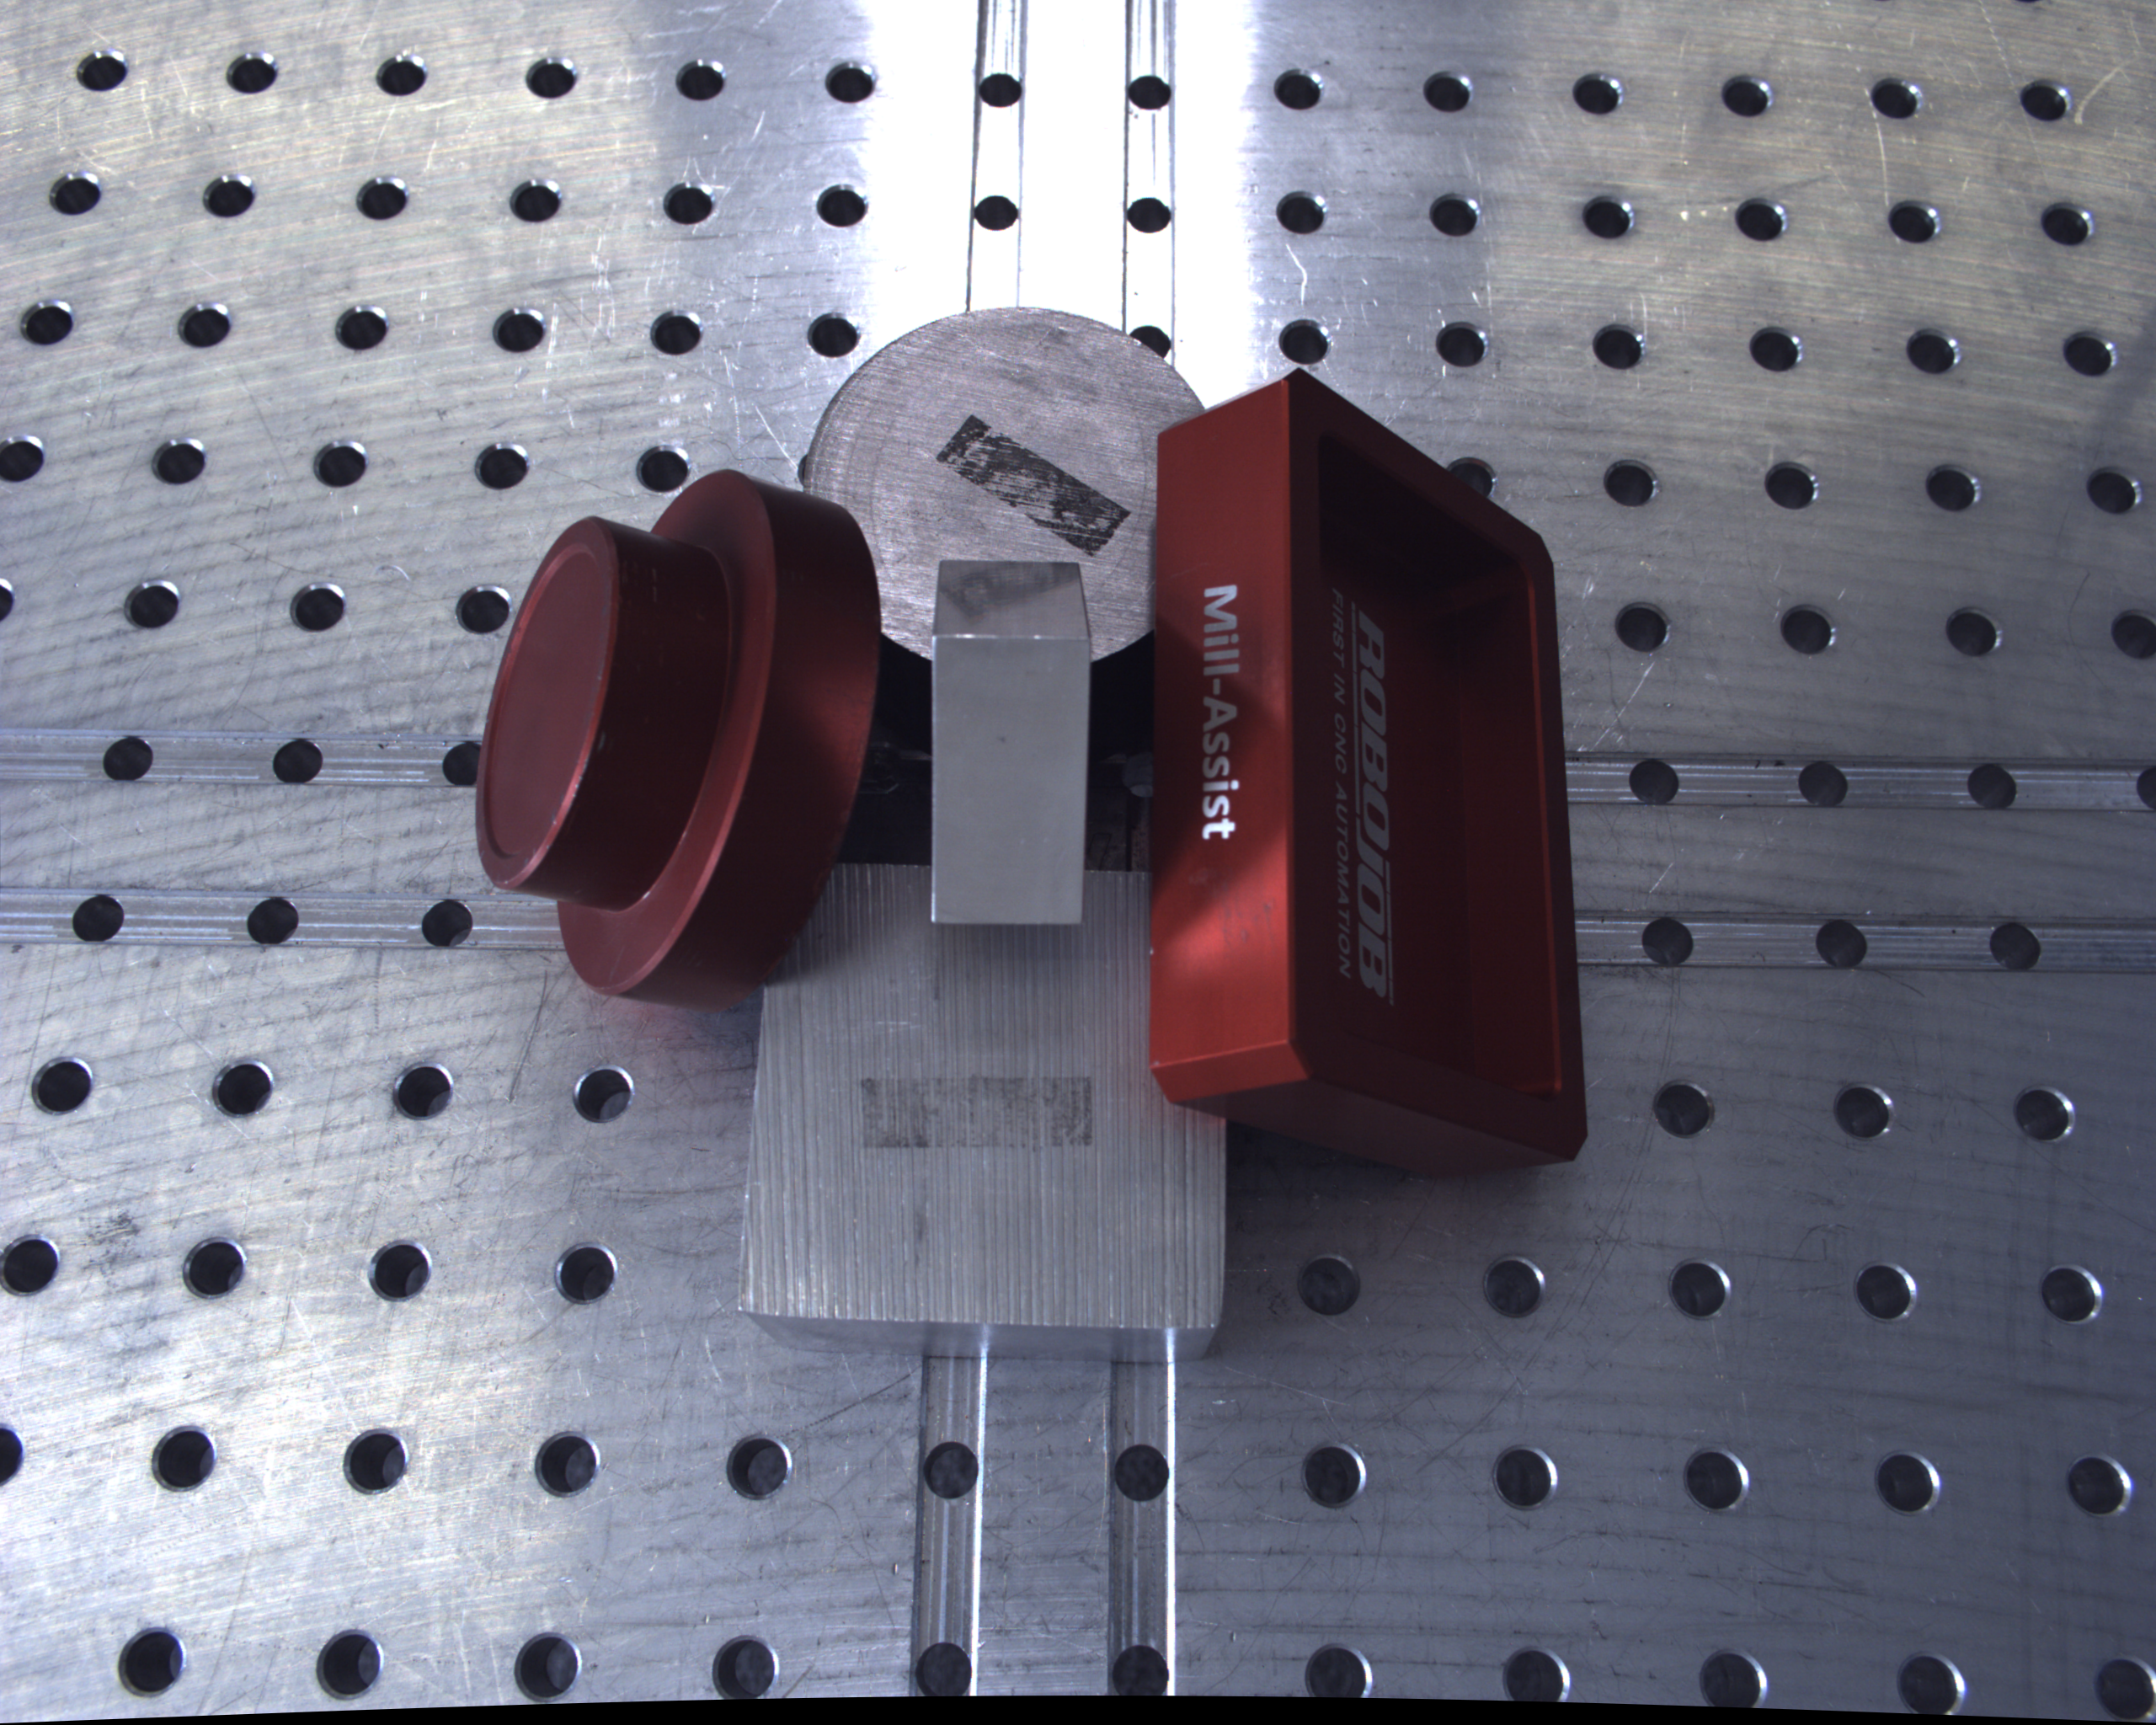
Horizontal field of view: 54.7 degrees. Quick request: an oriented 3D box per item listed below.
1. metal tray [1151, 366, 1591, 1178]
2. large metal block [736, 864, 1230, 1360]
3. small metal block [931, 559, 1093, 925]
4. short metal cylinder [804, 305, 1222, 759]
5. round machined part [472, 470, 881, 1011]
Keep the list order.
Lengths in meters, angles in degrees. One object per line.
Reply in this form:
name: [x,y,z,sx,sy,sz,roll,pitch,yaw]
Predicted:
metal tray: [0.055,-0.014,0.384,0.030,0.090,0.130,-17,63,40]
large metal block: [-0.015,0.047,0.381,0.080,0.050,0.080,2,70,1]
small metal block: [-0.012,-0.022,0.361,0.025,0.050,0.050,1,112,-3]
short metal cylinder: [-0.012,-0.064,0.421,0.081,0.050,0.080,0,70,0]
round machined part: [-0.077,-0.024,0.377,0.042,0.098,0.098,14,67,-31]
